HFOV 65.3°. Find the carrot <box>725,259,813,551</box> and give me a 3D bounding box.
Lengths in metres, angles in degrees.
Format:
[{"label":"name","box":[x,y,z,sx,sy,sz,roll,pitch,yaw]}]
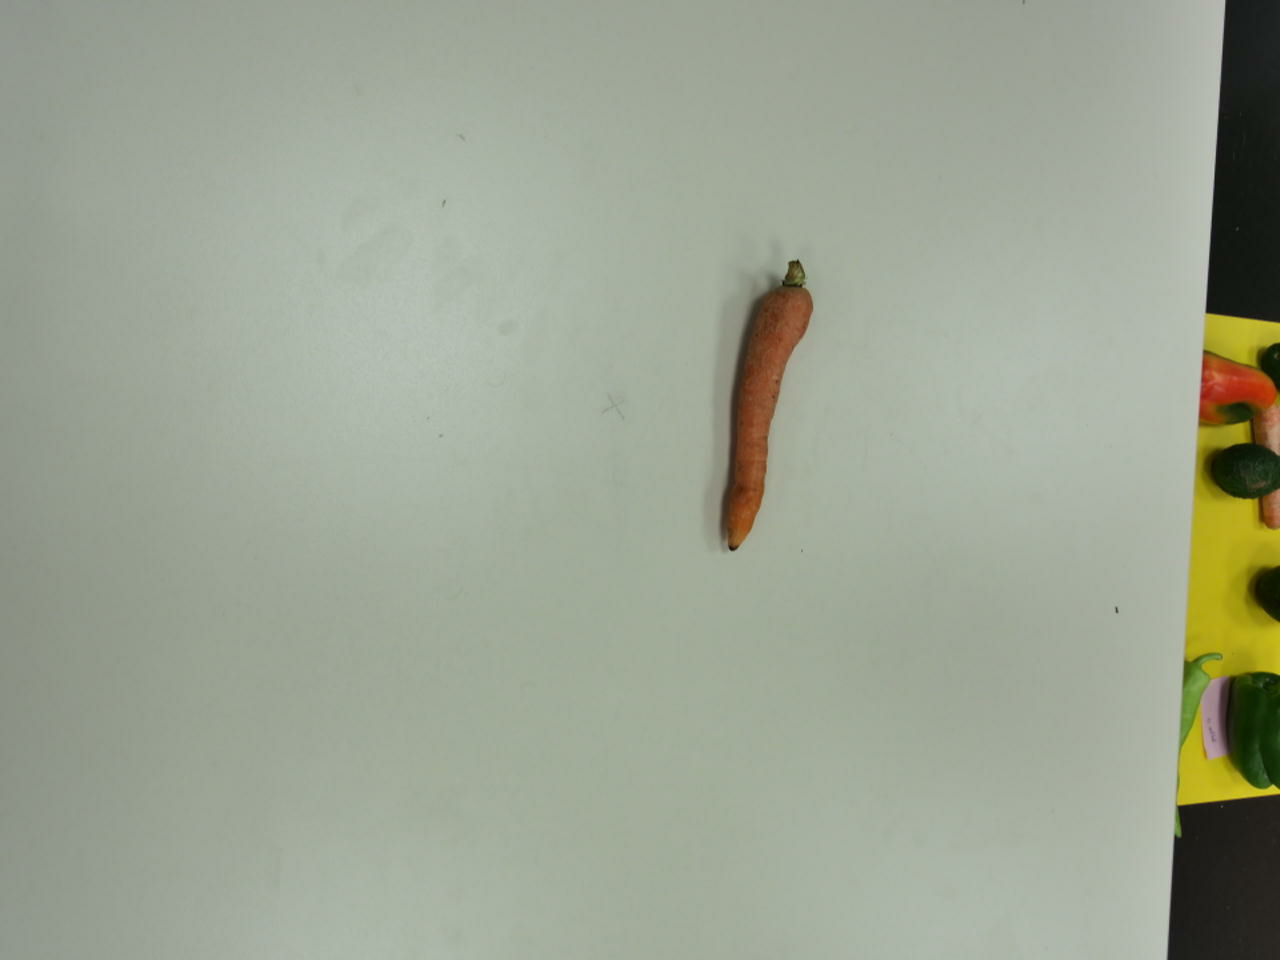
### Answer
[{"label":"carrot","box":[0.071,-0.042,0.579,0.030,0.032,0.173,15,85,-21]}]
